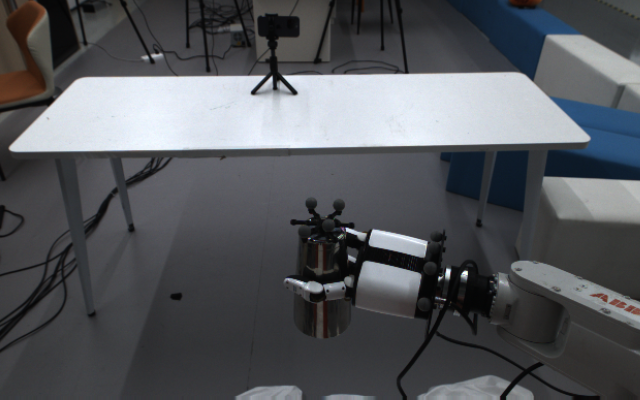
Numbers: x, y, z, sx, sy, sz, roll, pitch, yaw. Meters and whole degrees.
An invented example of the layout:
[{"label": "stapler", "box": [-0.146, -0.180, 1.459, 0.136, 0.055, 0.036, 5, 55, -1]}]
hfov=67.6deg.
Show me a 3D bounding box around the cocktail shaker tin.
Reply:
[{"label": "cocktail shaker tin", "box": [0.006, 0.111, 0.718, 0.093, 0.170, 0.093, 0, 33, 0]}]
